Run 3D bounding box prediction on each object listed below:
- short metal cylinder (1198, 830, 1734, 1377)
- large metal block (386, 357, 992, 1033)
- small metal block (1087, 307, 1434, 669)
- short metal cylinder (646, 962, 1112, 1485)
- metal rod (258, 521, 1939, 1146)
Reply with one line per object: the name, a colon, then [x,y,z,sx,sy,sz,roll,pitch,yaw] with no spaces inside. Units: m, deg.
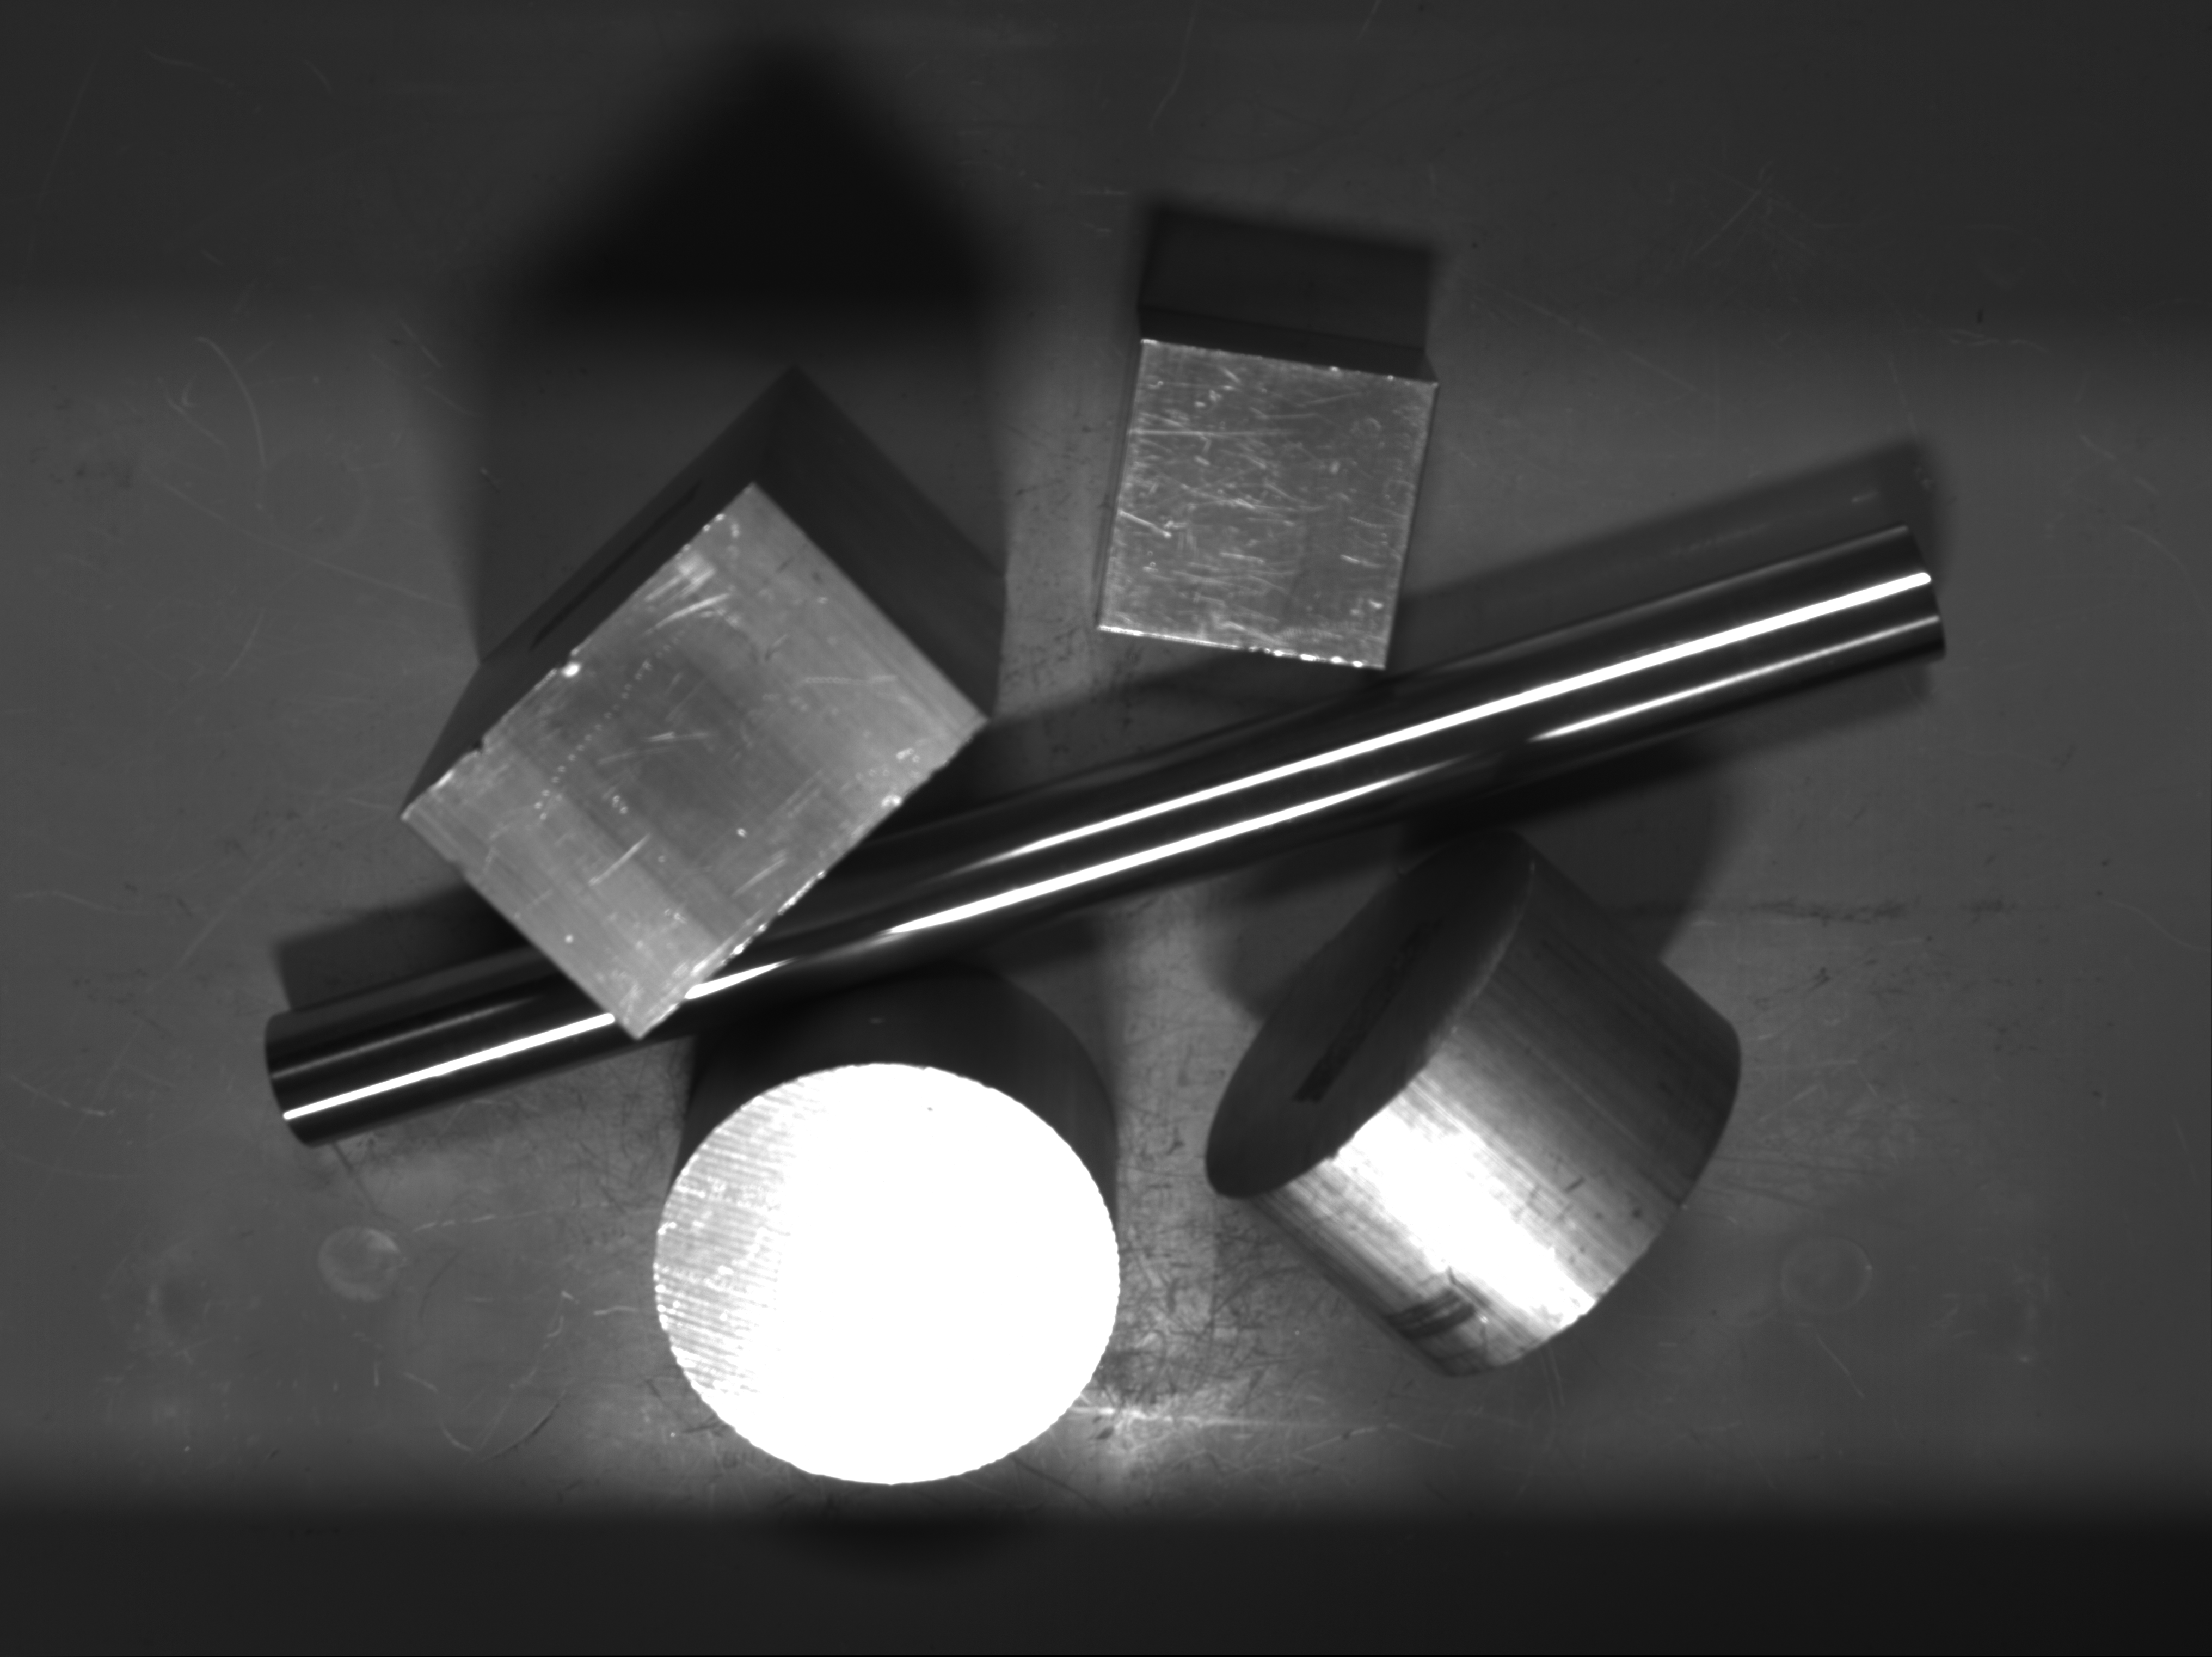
short metal cylinder: [0.061,0.047,0.631,0.050,0.080,0.080,41,105,-14]
large metal block: [-0.066,-0.024,0.604,0.080,0.080,0.050,-42,105,13]
small metal block: [0.025,-0.058,0.621,0.050,0.025,0.050,8,110,-4]
short metal cylinder: [-0.039,0.069,0.653,0.080,0.050,0.080,0,110,-1]
metal rod: [-0.004,0.002,0.643,0.300,0.025,0.025,-17,109,5]
